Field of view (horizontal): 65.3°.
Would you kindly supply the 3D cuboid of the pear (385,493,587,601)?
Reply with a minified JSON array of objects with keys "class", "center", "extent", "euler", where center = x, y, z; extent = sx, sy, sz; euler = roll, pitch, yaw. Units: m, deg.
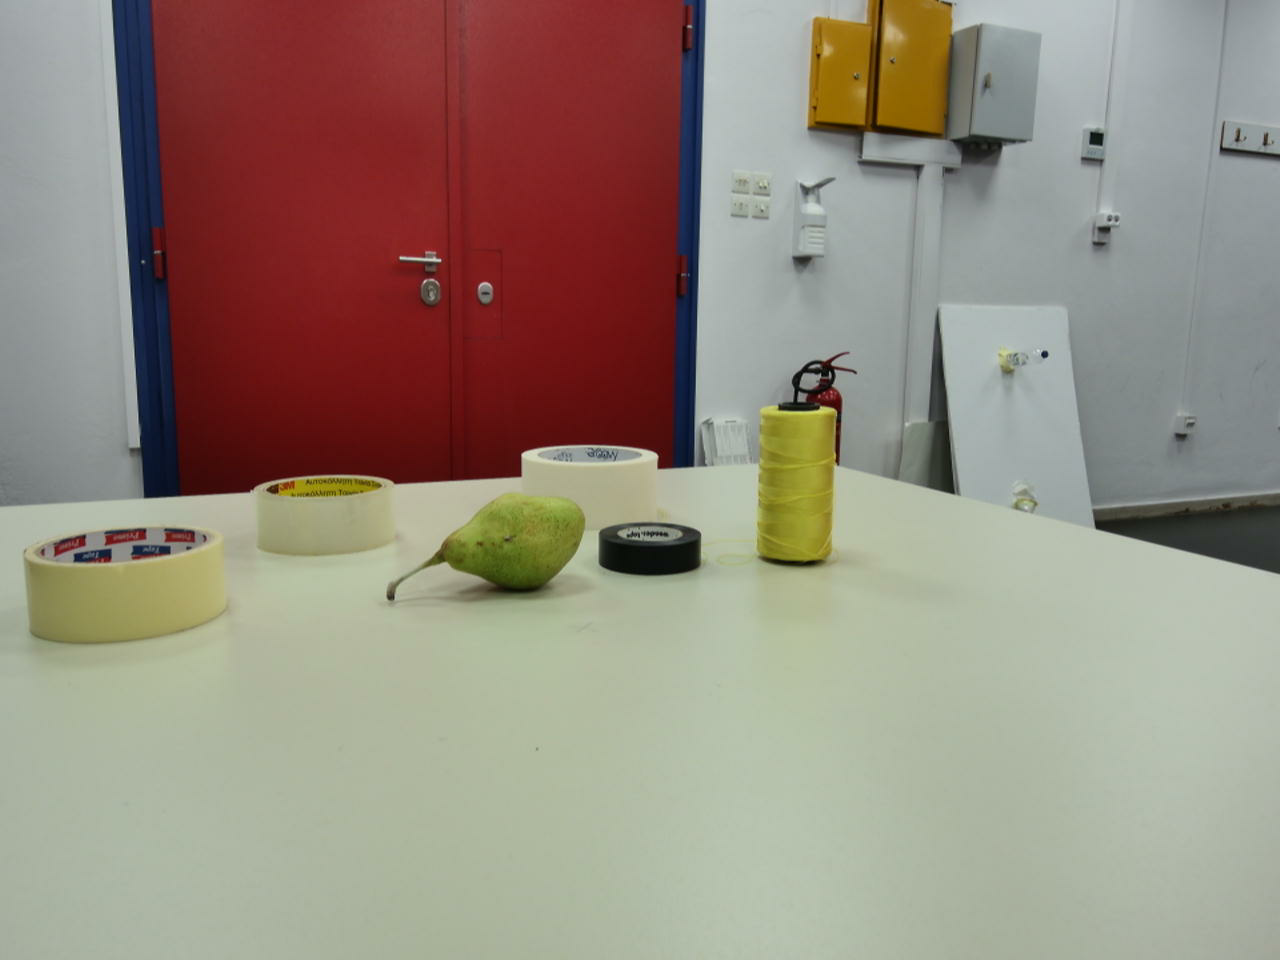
[{"class":"pear","center":[-0.087,0.036,0.576],"extent":[0.111,0.056,0.056],"euler":[-1,8,-9]}]
